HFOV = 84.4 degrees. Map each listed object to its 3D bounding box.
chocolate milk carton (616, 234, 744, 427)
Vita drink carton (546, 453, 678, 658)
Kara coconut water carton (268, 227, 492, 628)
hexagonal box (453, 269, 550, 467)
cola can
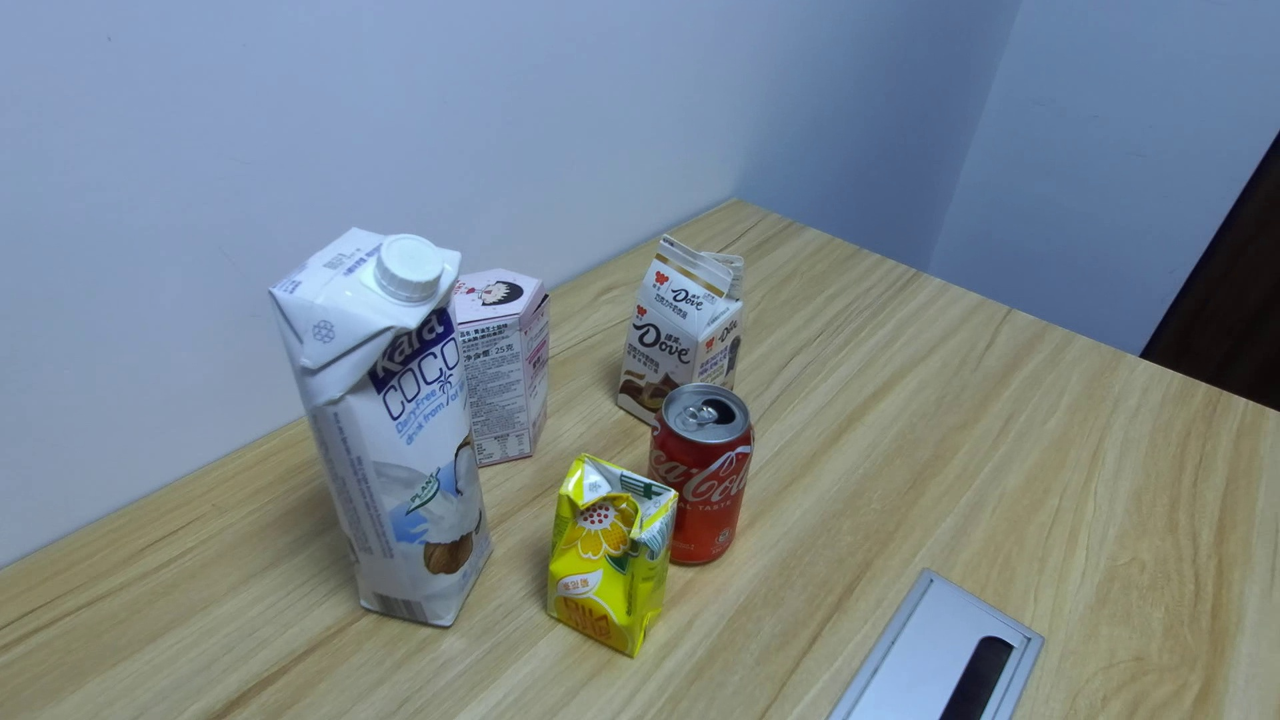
[{"bbox_3d":[0.033,-0.023,0.564,0.084,0.155,0.073,29,44,28],"label":"chocolate milk carton"},{"bbox_3d":[-0.020,0.118,0.421,0.071,0.110,0.046,19,38,20],"label":"Vita drink carton"},{"bbox_3d":[-0.132,0.041,0.398,0.071,0.244,0.099,11,39,8],"label":"Kara coconut water carton"},{"bbox_3d":[-0.115,0.005,0.538,0.085,0.135,0.092,9,38,6],"label":"hexagonal box"},{"bbox_3d":[0.038,0.076,0.470,0.068,0.120,0.067,3,38,-2],"label":"cola can"}]
